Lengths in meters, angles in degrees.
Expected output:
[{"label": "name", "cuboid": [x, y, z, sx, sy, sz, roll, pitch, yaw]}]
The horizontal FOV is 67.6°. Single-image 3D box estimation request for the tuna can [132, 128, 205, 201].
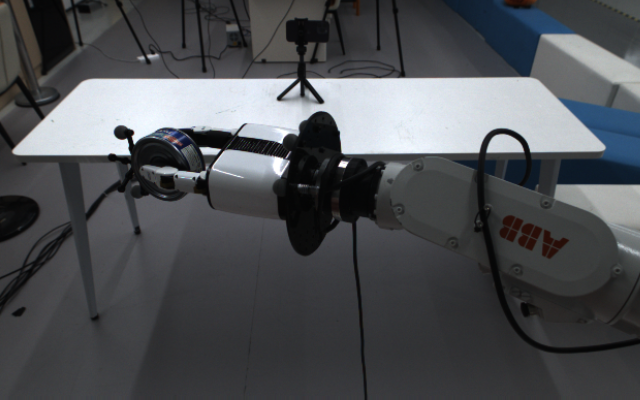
[{"label": "tuna can", "cuboid": [-0.183, -0.044, 0.591, 0.085, 0.085, 0.034, 12, 29, 14]}]
